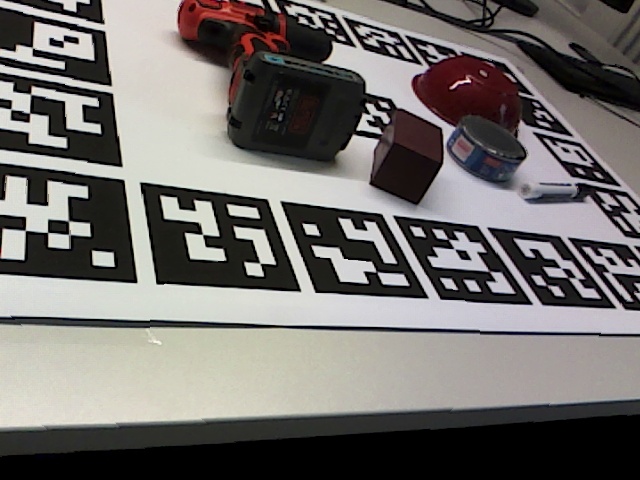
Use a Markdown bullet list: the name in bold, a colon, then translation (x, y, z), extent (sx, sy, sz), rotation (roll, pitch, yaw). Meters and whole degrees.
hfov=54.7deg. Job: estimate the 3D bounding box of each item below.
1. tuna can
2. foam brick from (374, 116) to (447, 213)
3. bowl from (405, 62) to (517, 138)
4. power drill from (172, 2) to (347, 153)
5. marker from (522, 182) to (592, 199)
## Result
- **tuna can**: translation (0.194, -0.106, 0.715), extent (0.085, 0.034, 0.086), rotation (20, 36, -15)
- **foam brick**: translation (0.087, -0.075, 0.605), extent (0.051, 0.053, 0.078), rotation (22, 38, -11)
- **bowl**: translation (0.198, -0.193, 0.824), extent (0.161, 0.055, 0.162), rotation (14, 32, -10)
- **power drill**: translation (-0.045, -0.165, 0.621), extent (0.183, 0.057, 0.188), rotation (7, 38, -32)
- **marker**: translation (0.281, -0.058, 0.725), extent (0.120, 0.019, 0.020), rotation (-3, 48, -36)
